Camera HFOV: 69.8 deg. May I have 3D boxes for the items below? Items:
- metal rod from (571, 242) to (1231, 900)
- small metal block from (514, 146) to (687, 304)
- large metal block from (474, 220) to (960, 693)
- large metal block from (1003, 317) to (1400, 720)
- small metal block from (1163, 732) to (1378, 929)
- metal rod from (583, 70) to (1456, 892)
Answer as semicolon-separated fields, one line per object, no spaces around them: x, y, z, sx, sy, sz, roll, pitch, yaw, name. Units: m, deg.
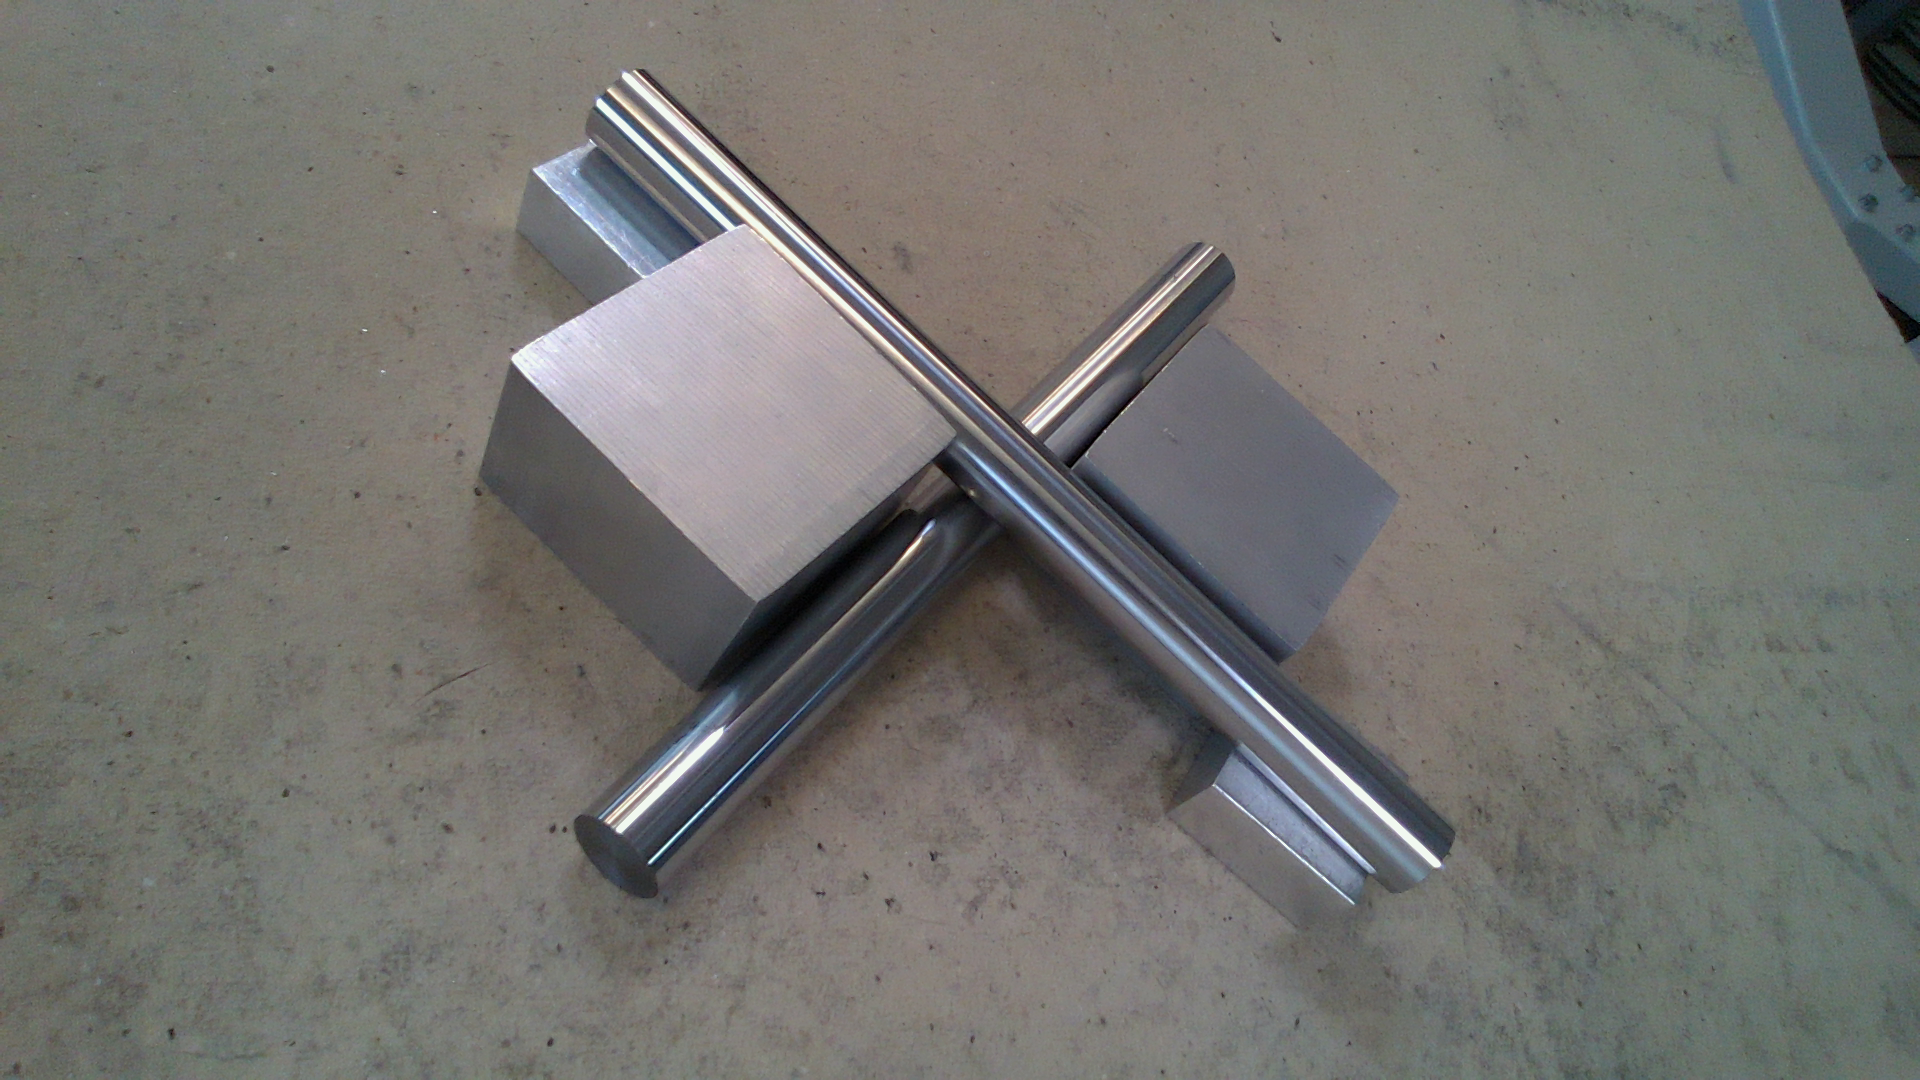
0.005;-0.012;0.401;0.025;0.025;0.301;43;51;2;metal rod
-0.090;-0.090;0.398;0.050;0.025;0.050;45;51;3;small metal block
-0.061;-0.023;0.352;0.080;0.050;0.080;45;51;3;large metal block
0.074;-0.008;0.418;0.080;0.050;0.080;43;51;2;large metal block
0.094;0.074;0.396;0.050;0.025;0.050;40;51;-1;small metal block
0.015;-0.017;0.375;0.300;0.025;0.025;43;51;1;metal rod
